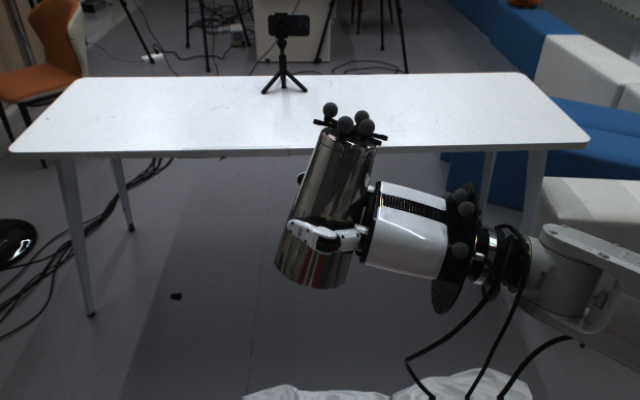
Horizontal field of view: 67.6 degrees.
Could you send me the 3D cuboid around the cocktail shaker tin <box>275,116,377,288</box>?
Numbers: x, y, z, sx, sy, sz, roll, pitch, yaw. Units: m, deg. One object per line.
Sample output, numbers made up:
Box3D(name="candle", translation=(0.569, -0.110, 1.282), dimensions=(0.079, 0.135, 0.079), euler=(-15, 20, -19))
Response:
Box3D(name="cocktail shaker tin", translation=(0.012, 0.007, 0.568), dimensions=(0.093, 0.170, 0.093), euler=(15, 19, -5))
